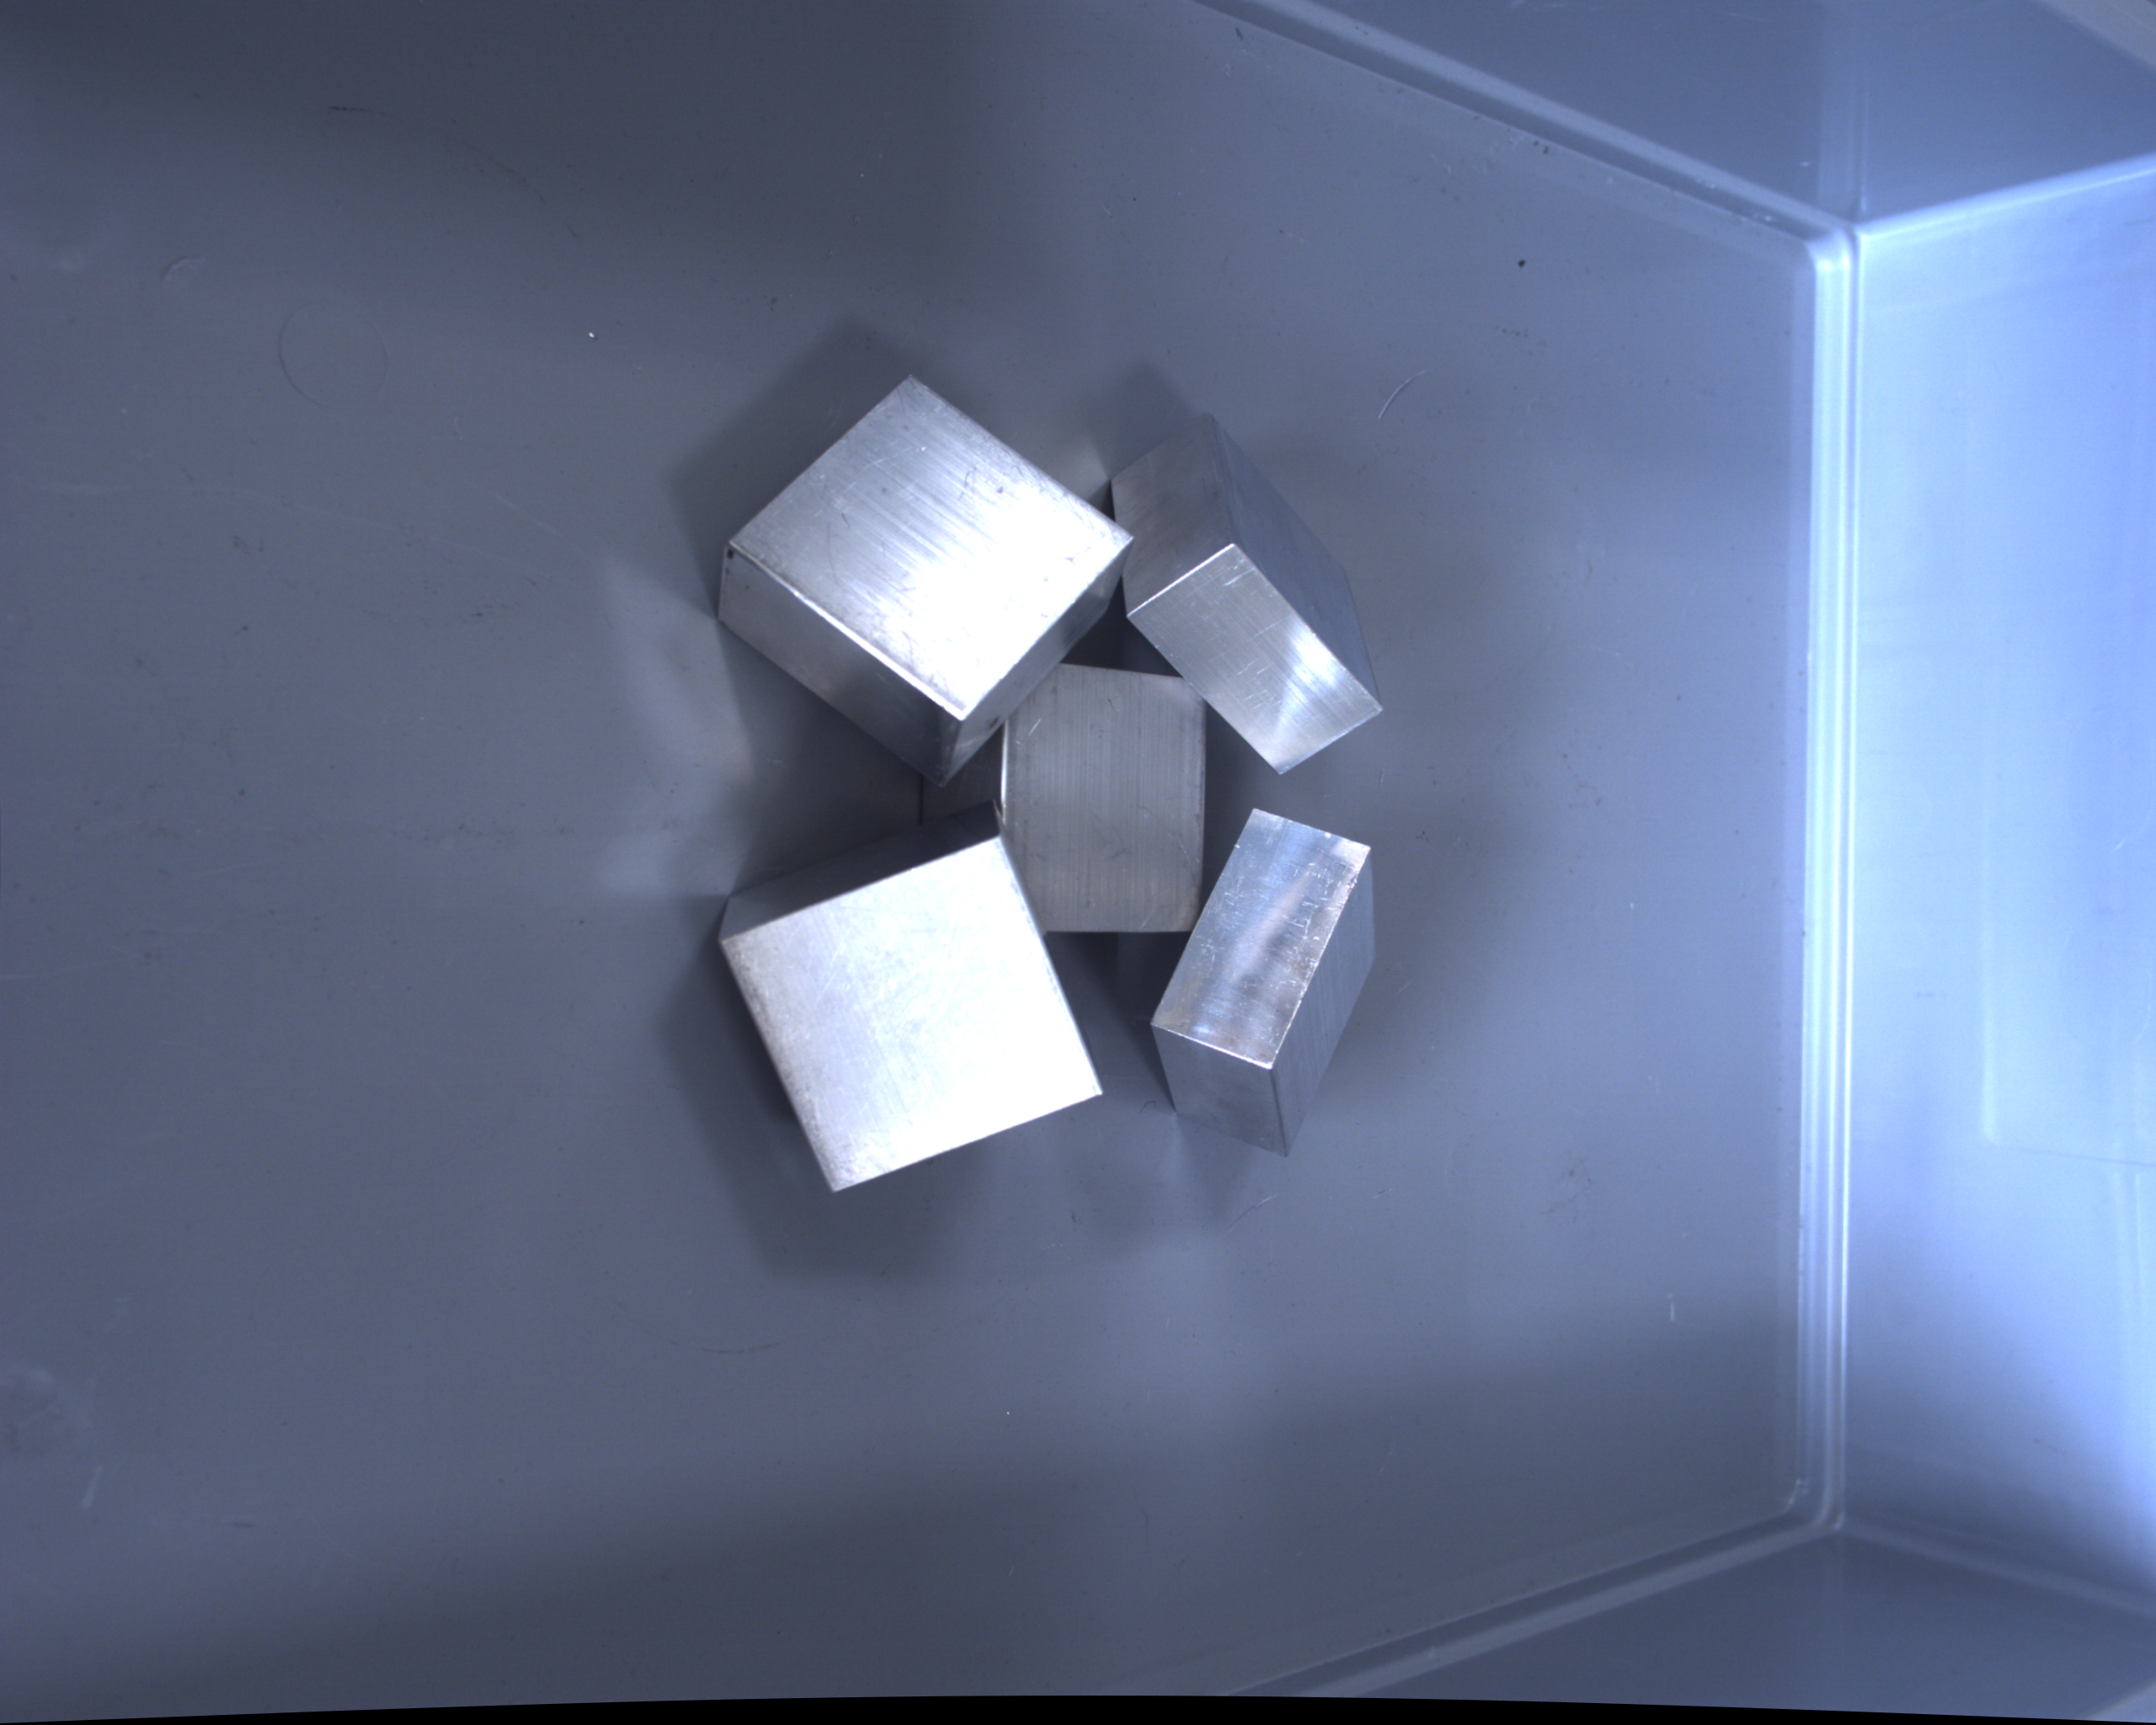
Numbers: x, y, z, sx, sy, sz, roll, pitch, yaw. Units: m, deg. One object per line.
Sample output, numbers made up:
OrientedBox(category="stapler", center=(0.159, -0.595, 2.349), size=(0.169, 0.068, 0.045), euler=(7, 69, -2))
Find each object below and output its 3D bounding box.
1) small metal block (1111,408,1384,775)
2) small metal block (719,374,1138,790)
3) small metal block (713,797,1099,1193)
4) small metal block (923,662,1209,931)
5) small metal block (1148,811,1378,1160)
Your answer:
OrientedBox(category="small metal block", center=(0.033, -0.054, 0.416), size=(0.050, 0.025, 0.050), euler=(42, 27, -32))
OrientedBox(category="small metal block", center=(-0.026, -0.049, 0.365), size=(0.050, 0.025, 0.050), euler=(37, 62, 7))
OrientedBox(category="small metal block", center=(-0.029, 0.023, 0.364), size=(0.050, 0.025, 0.050), euler=(-20, 107, 0))
OrientedBox(category="small metal block", center=(-0.002, -0.012, 0.401), size=(0.050, 0.025, 0.050), euler=(2, 89, -40))
OrientedBox(category="small metal block", center=(0.039, 0.026, 0.422), size=(0.050, 0.025, 0.050), euler=(-63, 159, -21))
